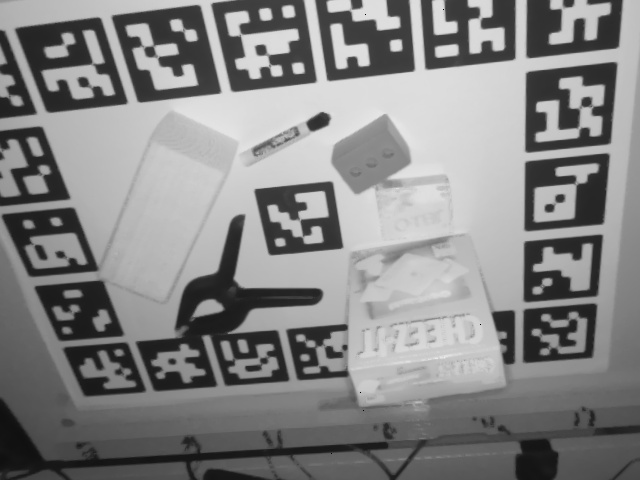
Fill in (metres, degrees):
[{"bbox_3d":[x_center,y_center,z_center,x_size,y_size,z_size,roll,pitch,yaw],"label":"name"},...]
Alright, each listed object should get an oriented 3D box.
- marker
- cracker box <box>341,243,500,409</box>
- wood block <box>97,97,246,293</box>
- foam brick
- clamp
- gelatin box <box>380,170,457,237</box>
[{"bbox_3d":[-0.020,-0.134,0.810,0.120,0.020,0.019,-22,113,13],"label":"marker"},{"bbox_3d":[0.113,0.092,0.811,0.164,0.215,0.071,-6,119,9],"label":"cracker box"},{"bbox_3d":[-0.176,-0.050,0.825,0.090,0.092,0.203,26,119,-13],"label":"wood block"},{"bbox_3d":[0.071,-0.106,0.804,0.077,0.052,0.053,-27,112,16],"label":"foam brick"},{"bbox_3d":[-0.120,0.067,0.912,0.201,0.037,0.166,-33,112,18],"label":"clamp"},{"bbox_3d":[0.121,-0.044,0.850,0.089,0.030,0.073,-5,116,5],"label":"gelatin box"}]
